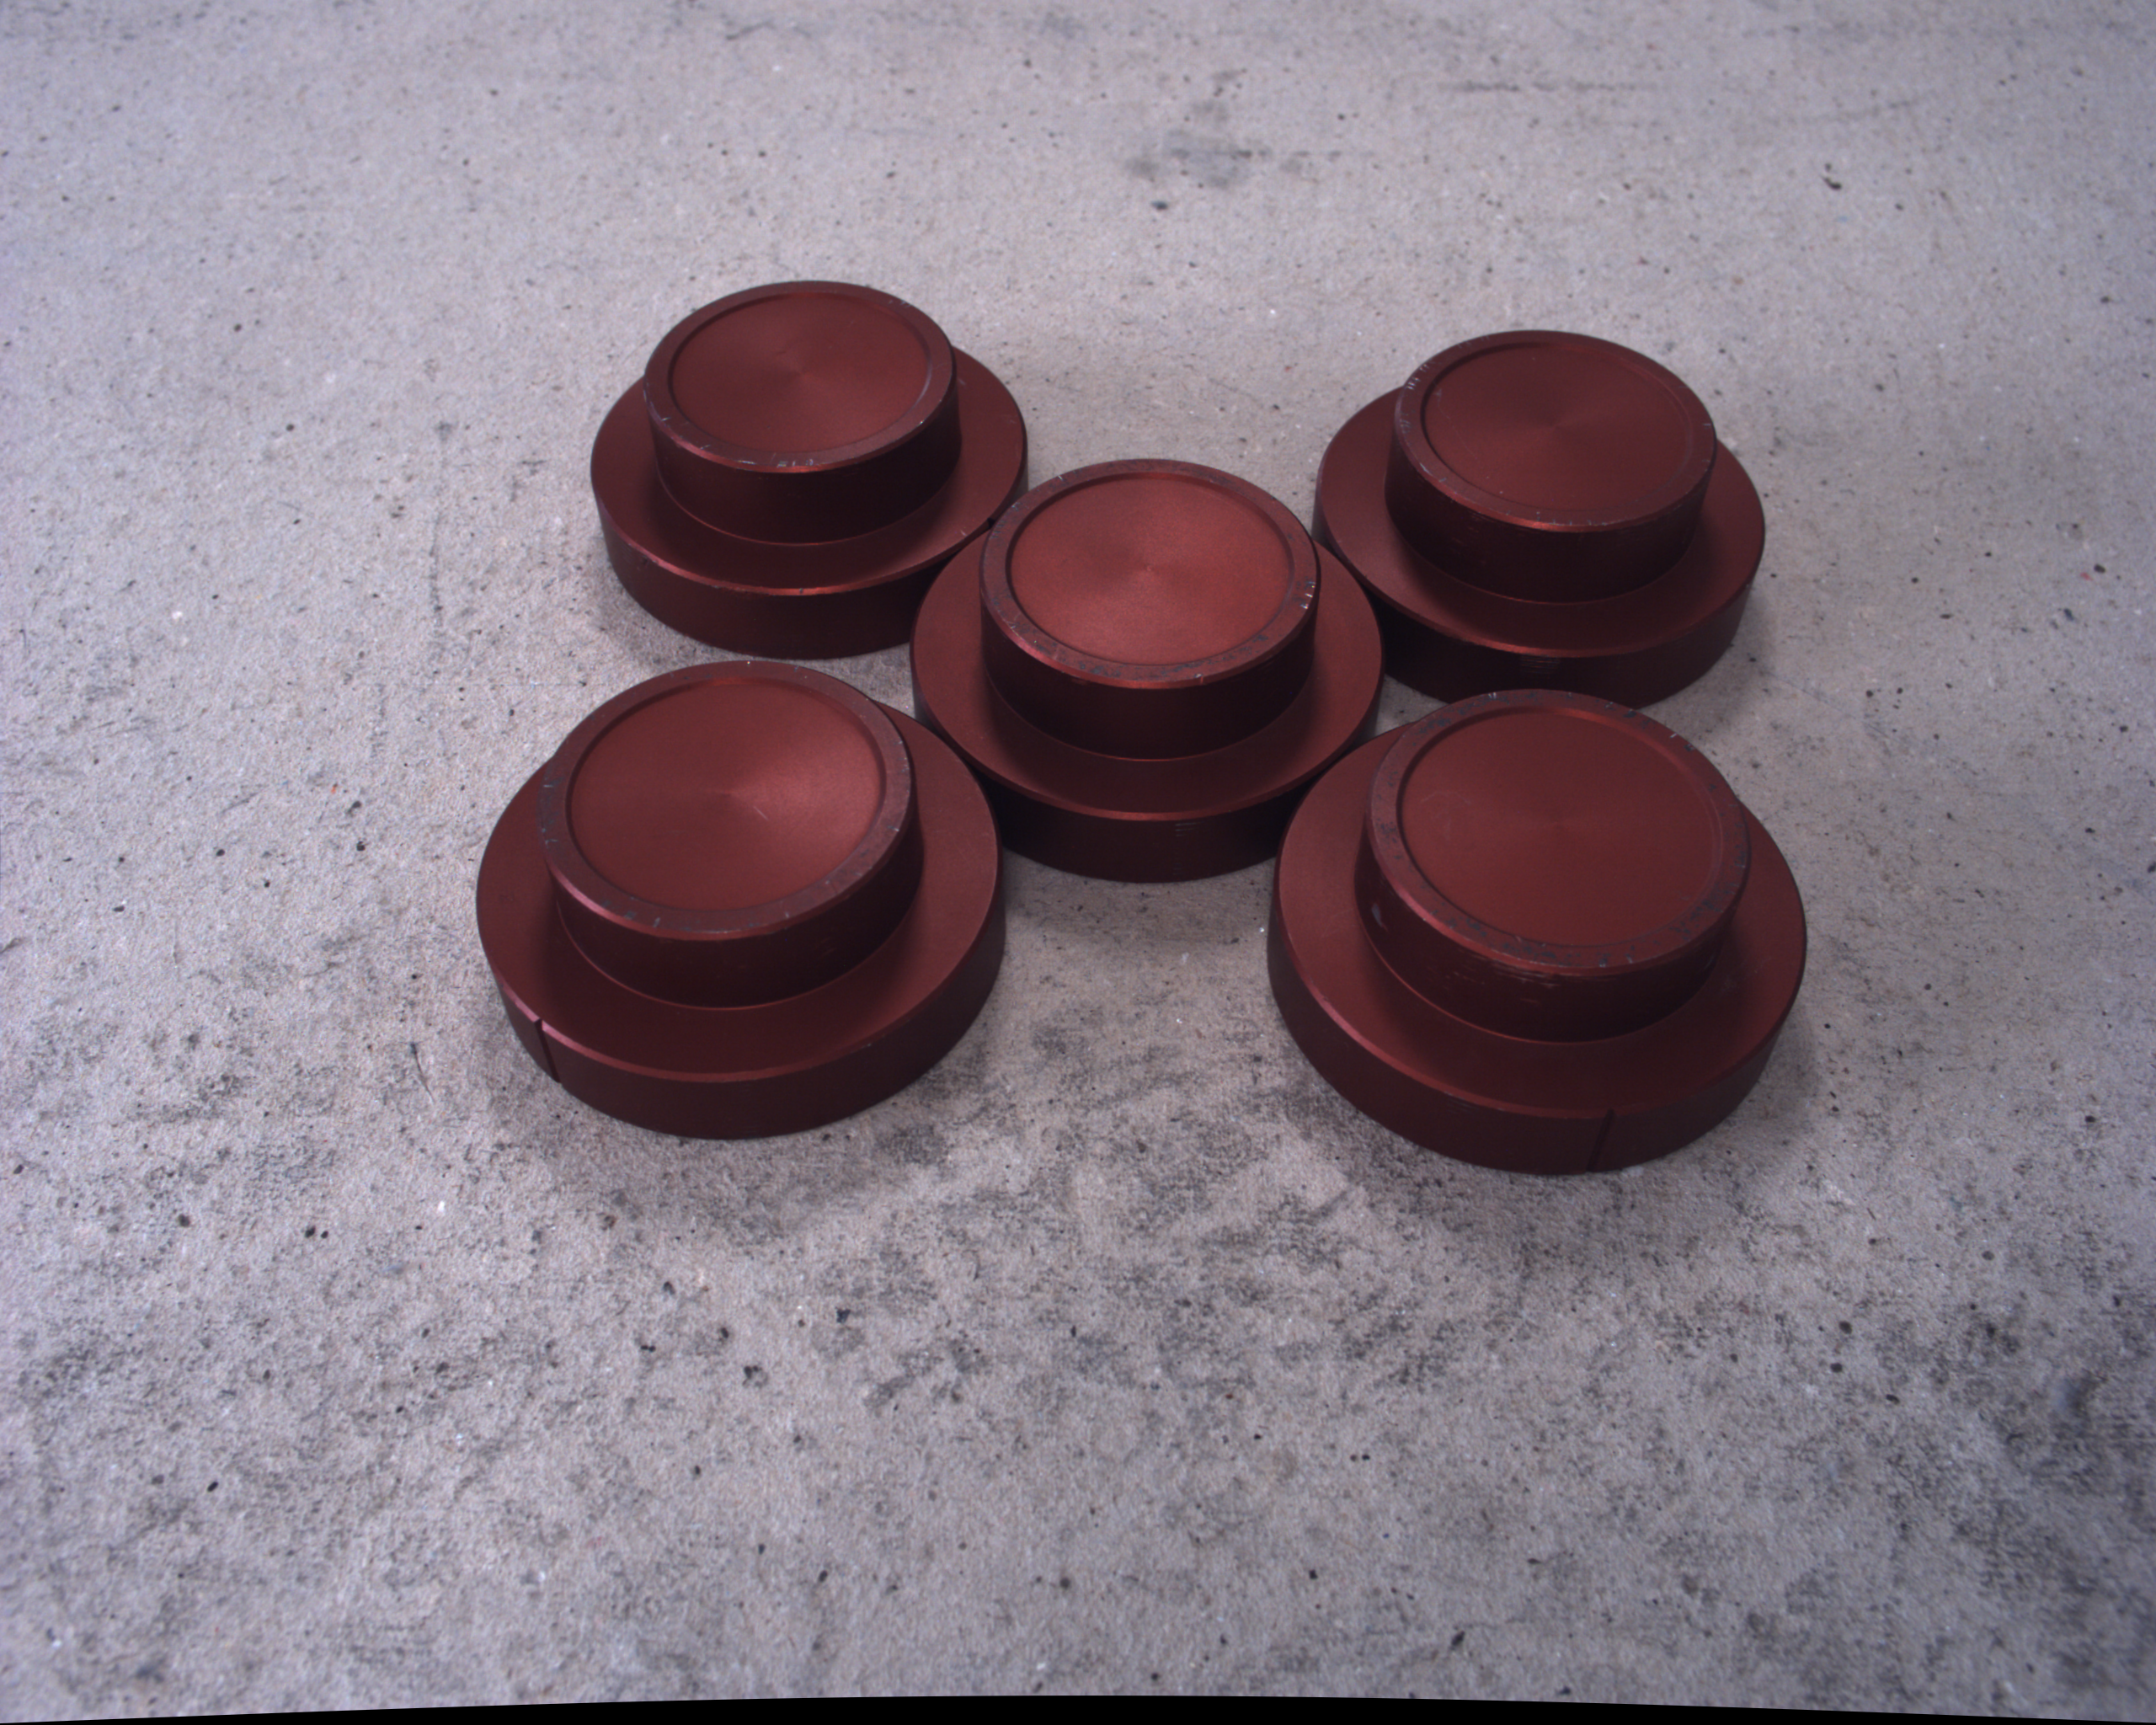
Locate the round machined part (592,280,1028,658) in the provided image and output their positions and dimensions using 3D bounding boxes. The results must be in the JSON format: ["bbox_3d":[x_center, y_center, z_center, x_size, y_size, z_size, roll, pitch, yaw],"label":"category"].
[{"bbox_3d":[-0.060,-0.095,0.473,0.099,0.042,0.098,0,50,0],"label":"round machined part"}]

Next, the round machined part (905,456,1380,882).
[{"bbox_3d":[0.013,-0.047,0.433,0.099,0.042,0.098,0,52,1],"label":"round machined part"}]

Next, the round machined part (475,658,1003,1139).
[{"bbox_3d":[-0.063,0.000,0.393,0.099,0.042,0.098,0,51,0],"label":"round machined part"}]

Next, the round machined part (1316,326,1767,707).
[{"bbox_3d":[0.102,-0.081,0.462,0.099,0.042,0.098,0,52,1],"label":"round machined part"}]

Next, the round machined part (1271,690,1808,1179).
[{"bbox_3d":[0.086,0.006,0.389,0.099,0.042,0.098,0,52,1],"label":"round machined part"}]
